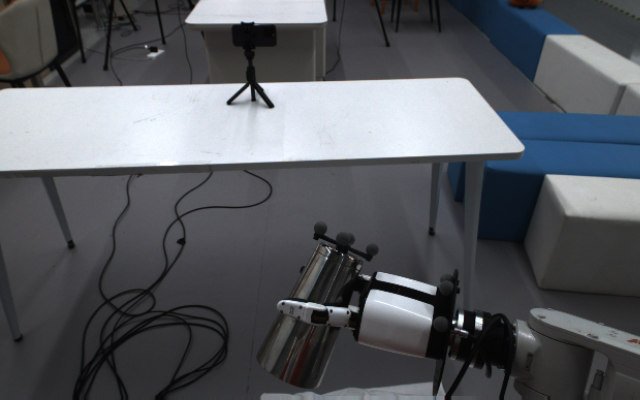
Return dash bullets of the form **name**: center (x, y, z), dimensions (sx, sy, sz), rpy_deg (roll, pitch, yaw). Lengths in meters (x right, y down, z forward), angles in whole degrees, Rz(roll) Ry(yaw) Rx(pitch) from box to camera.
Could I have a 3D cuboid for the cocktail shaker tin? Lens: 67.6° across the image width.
- **cocktail shaker tin**: center (-0.006, 0.142, 0.639), dimensions (0.093, 0.170, 0.093), rpy_deg (24, 1, 0)
